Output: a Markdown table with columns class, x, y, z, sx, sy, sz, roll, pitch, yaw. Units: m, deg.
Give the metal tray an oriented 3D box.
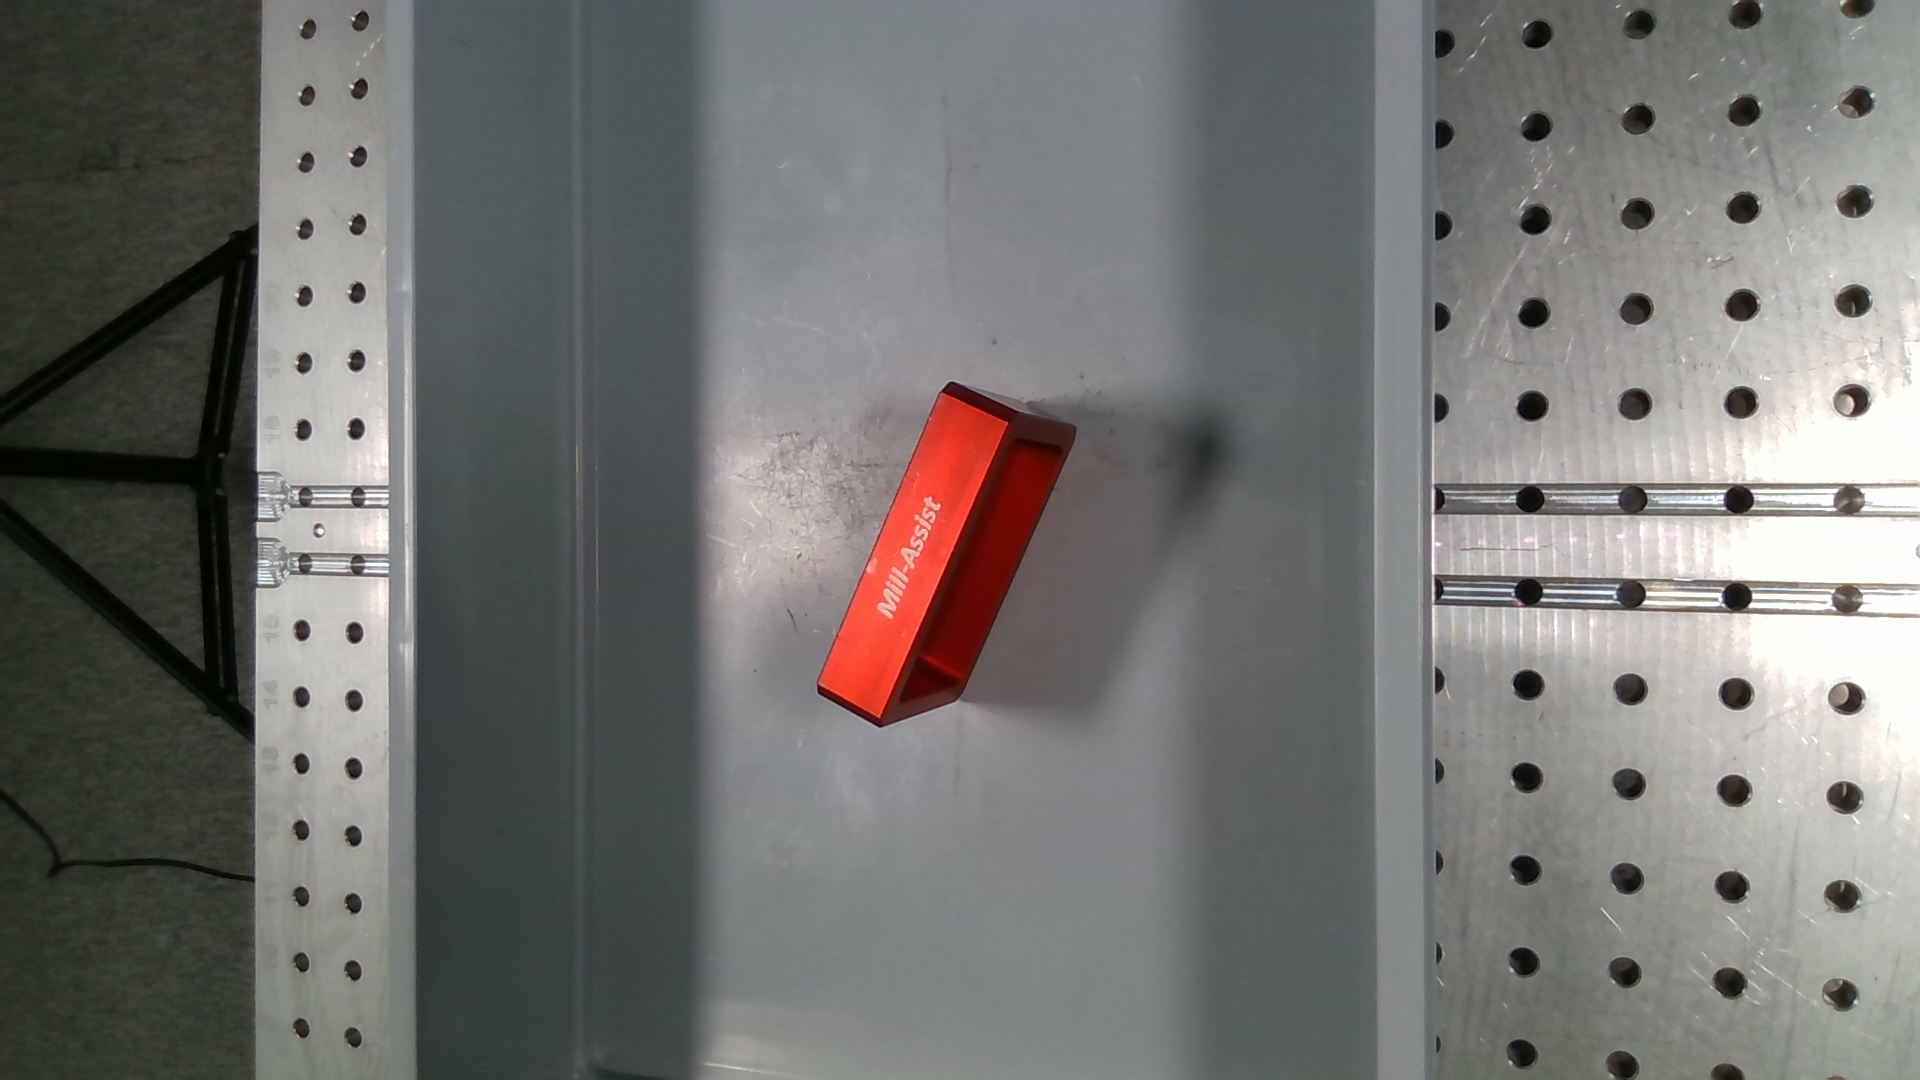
| class | x | y | z | sx | sy | sz | roll | pitch | yaw |
| --- | --- | --- | --- | --- | --- | --- | --- | --- | --- |
| metal tray | -0.004 | 0.006 | 0.549 | 0.030 | 0.090 | 0.130 | 27 | 100 | 18 |
